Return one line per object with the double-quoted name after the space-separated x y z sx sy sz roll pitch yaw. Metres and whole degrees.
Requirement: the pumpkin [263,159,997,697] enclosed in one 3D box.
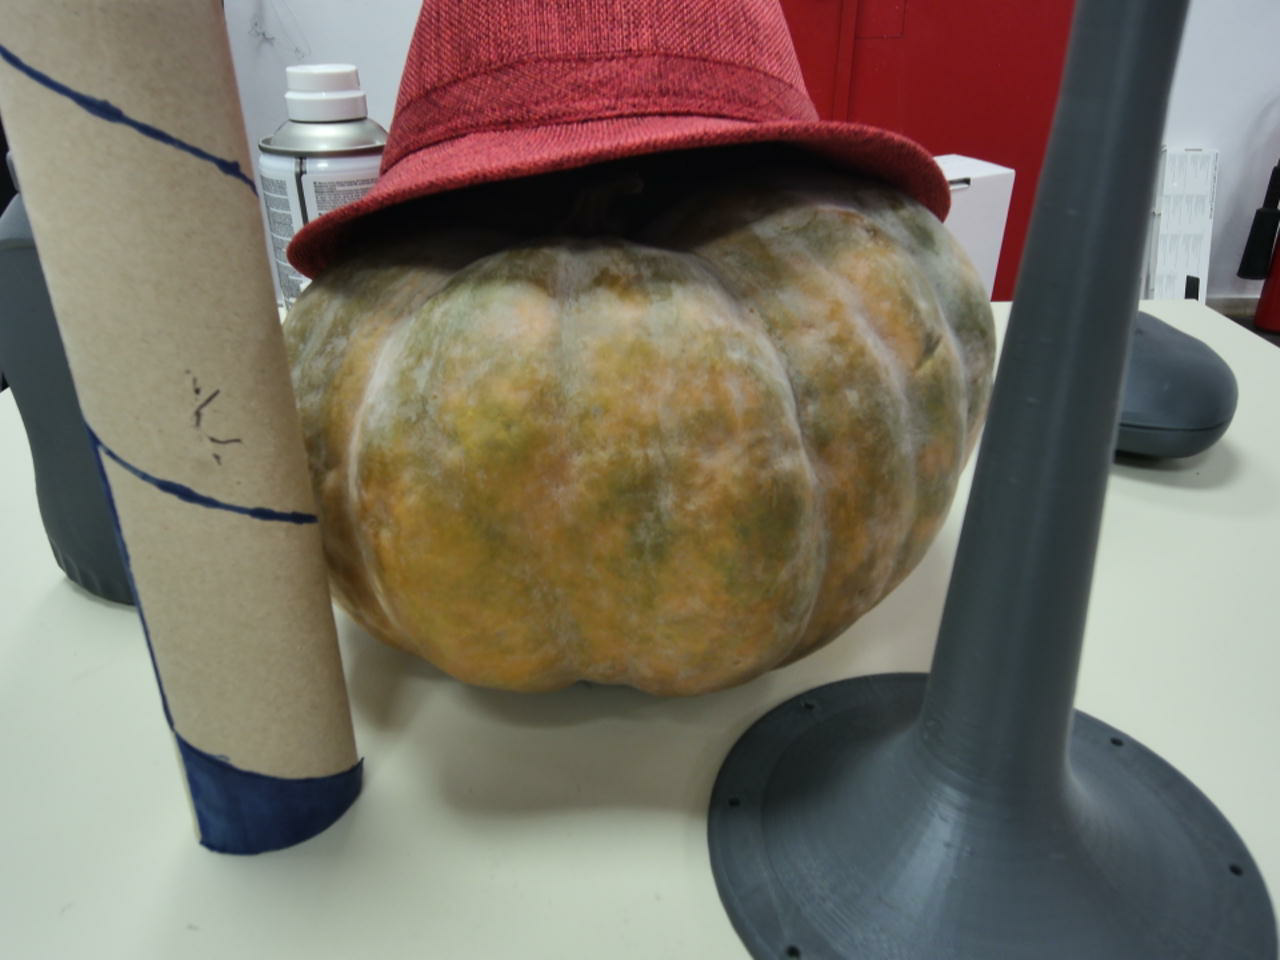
-0.010 -0.027 0.364 0.252 0.169 0.251 0 25 0 "pumpkin"
